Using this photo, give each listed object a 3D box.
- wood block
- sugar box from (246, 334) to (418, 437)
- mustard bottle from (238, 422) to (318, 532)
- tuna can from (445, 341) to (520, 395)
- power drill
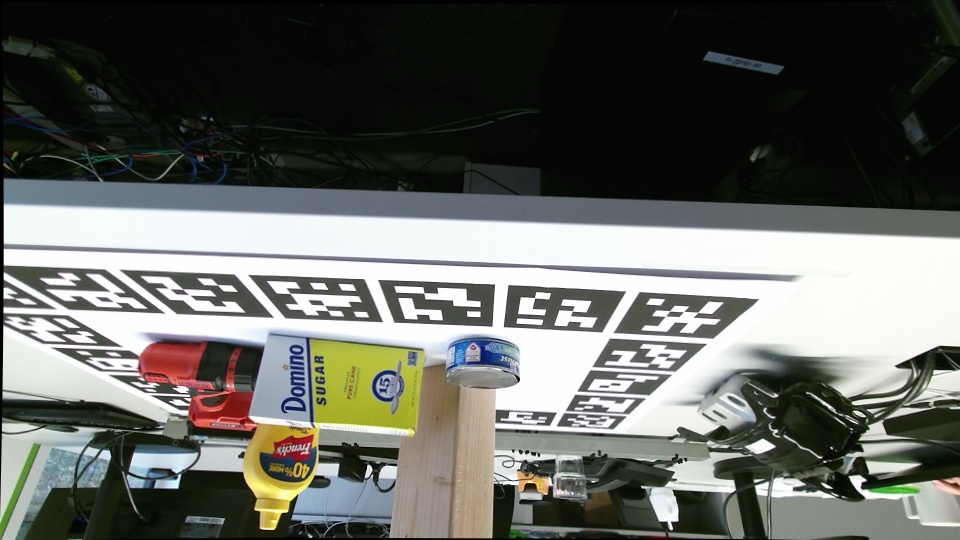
[{"bbox_3d":[-0.042,0.229,0.662,0.091,0.205,0.090,-15,143,25],"label":"wood block"},{"bbox_3d":[-0.164,0.132,0.605,0.177,0.092,0.045,10,151,-8],"label":"sugar box"},{"bbox_3d":[-0.262,0.237,0.702,0.058,0.190,0.096,-23,139,34],"label":"mustard bottle"},{"bbox_3d":[0.003,0.112,0.607,0.086,0.033,0.086,2,148,2],"label":"tuna can"},{"bbox_3d":[-0.307,0.159,0.690,0.185,0.057,0.187,9,141,-10],"label":"power drill"}]
